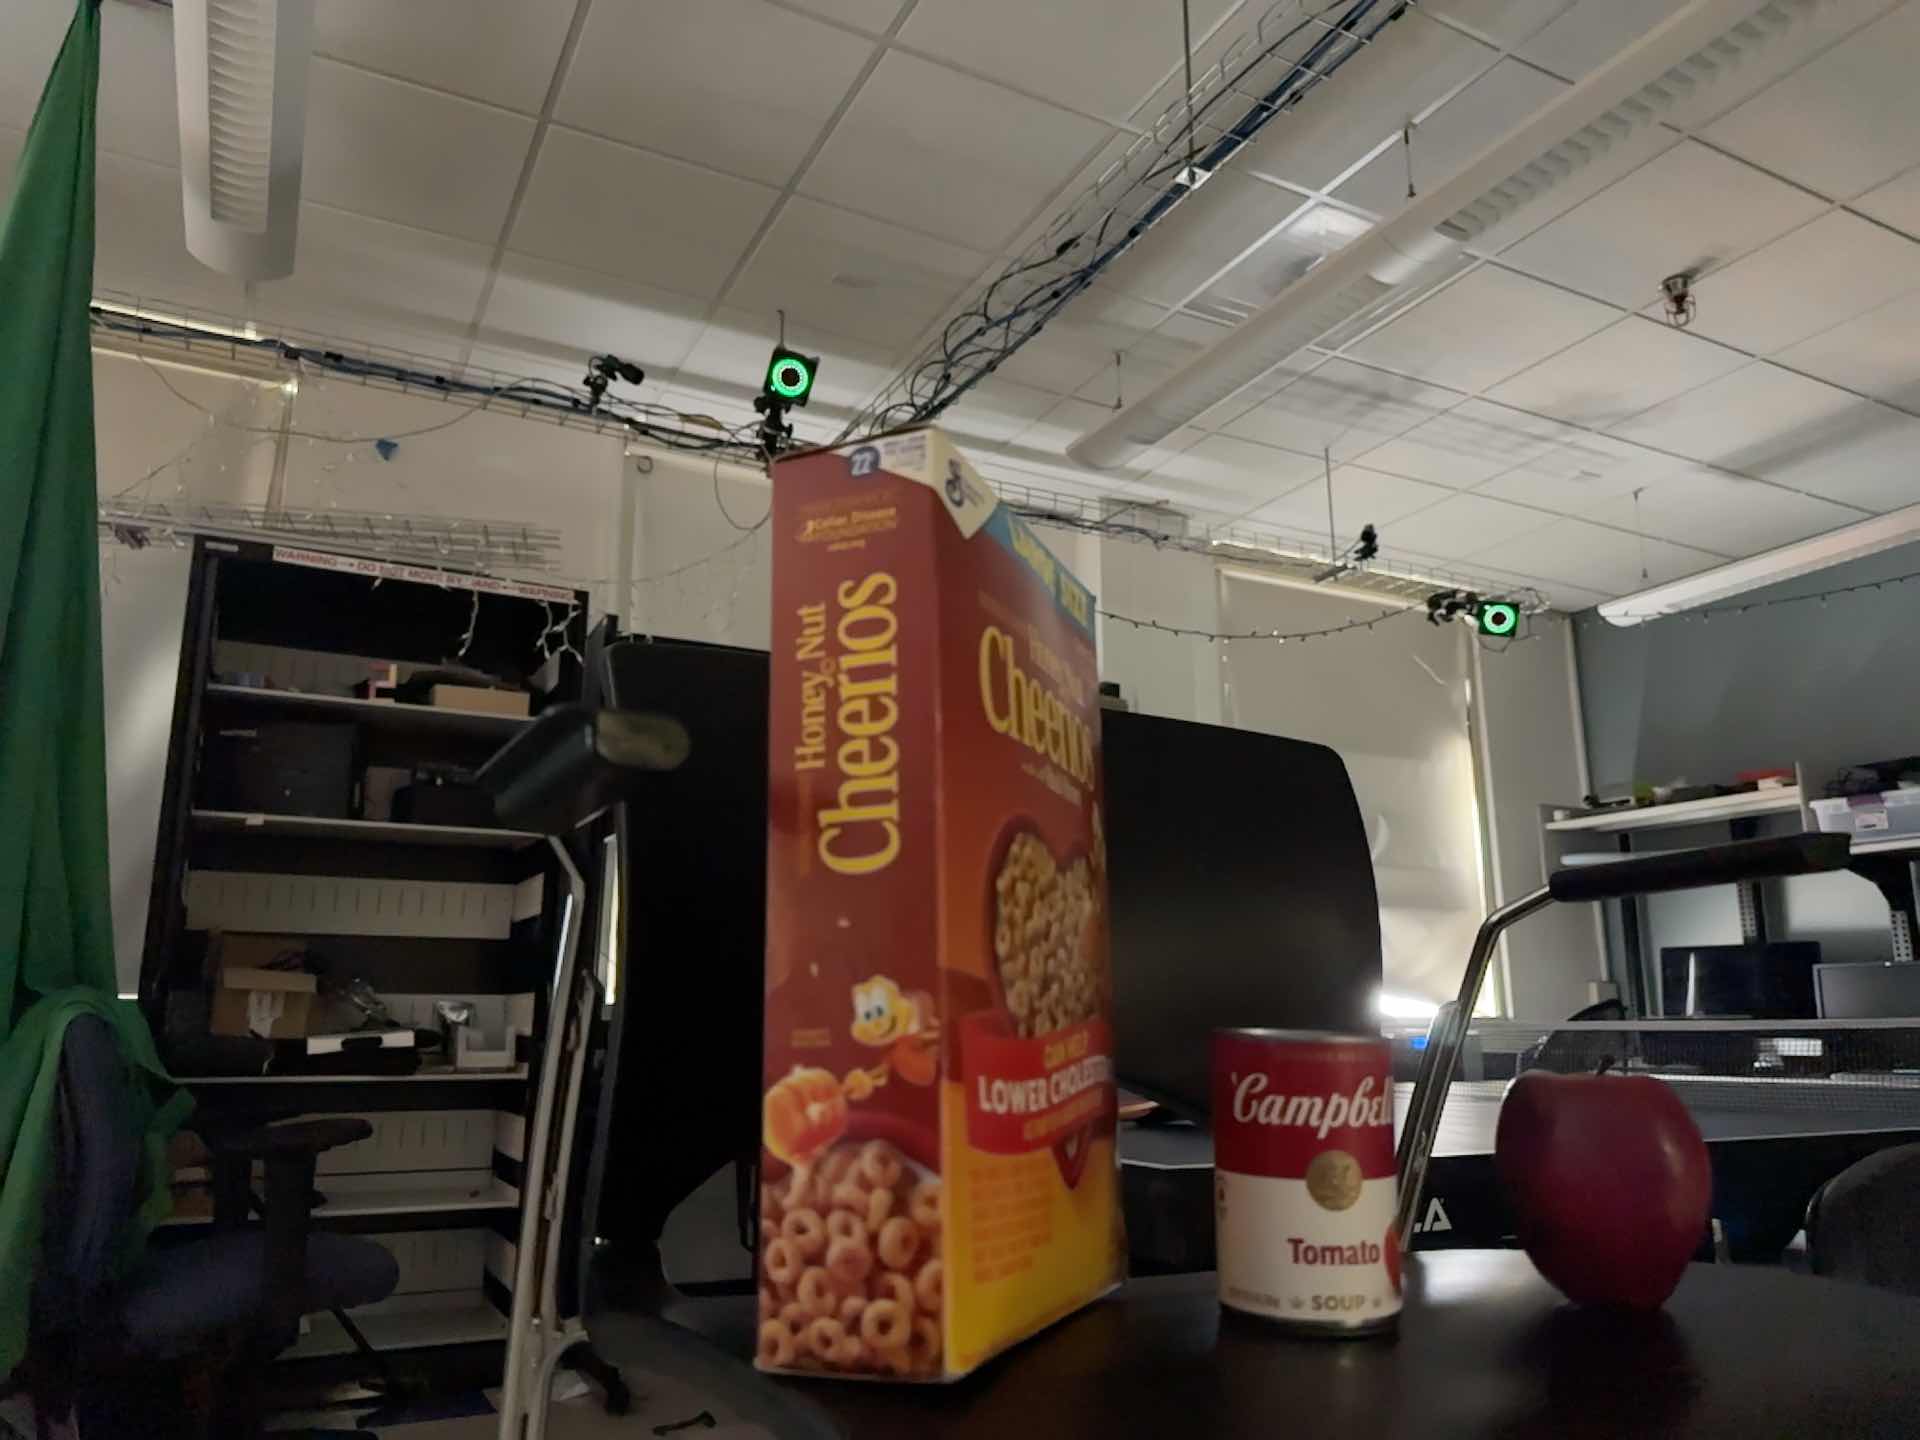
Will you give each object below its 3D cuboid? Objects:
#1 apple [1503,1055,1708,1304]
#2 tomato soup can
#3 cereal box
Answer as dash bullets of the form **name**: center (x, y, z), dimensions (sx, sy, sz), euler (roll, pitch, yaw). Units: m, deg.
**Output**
- **apple**: center (0.256, 0.180, 0.537), dimensions (0.079, 0.093, 0.079), euler (2, -6, 0)
- **tomato soup can**: center (0.129, 0.171, 0.512), dimensions (0.067, 0.102, 0.067), euler (1, -10, 0)
- **cereal box**: center (-0.005, 0.071, 0.520), dimensions (0.065, 0.297, 0.195), euler (-5, -13, 22)
